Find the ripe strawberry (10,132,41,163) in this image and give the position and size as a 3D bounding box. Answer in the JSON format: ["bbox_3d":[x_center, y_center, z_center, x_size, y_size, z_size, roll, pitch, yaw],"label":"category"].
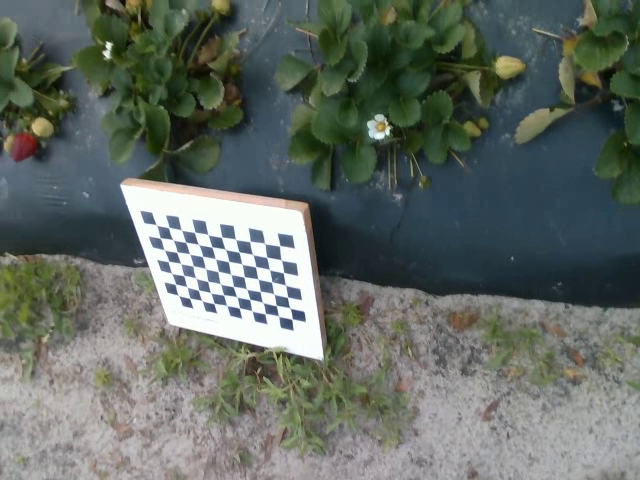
[{"bbox_3d":[-0.492,-0.147,1.443,0.046,0.059,0.046,6,-30,31],"label":"ripe strawberry"}]
